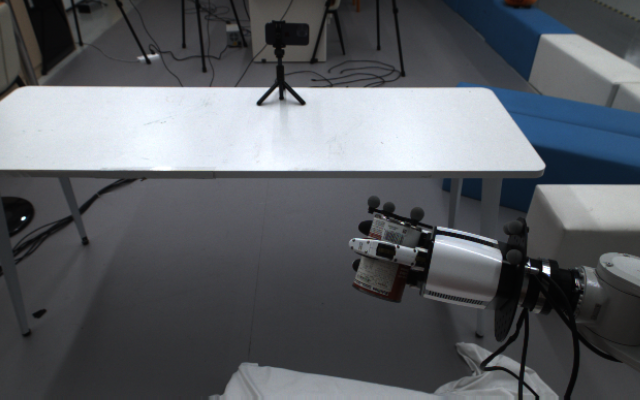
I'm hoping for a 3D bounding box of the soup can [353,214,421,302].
[{"bbox_3d":[0.092,0.077,0.645,0.067,0.101,0.067,17,-1,0],"label":"soup can"}]
